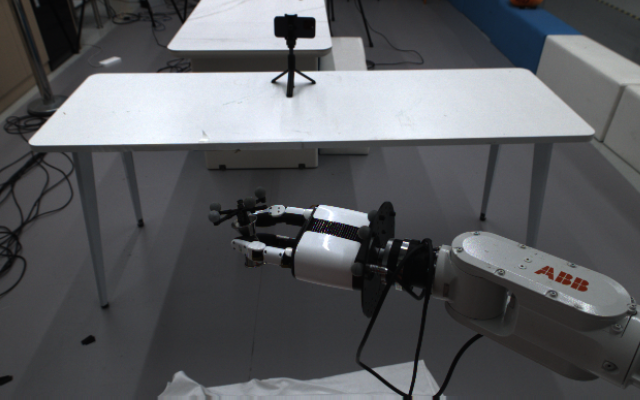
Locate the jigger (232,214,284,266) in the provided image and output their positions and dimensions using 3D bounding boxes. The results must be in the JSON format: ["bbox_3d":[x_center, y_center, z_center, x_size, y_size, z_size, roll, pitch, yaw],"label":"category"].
[{"bbox_3d":[-0.101,0.061,0.720,0.043,0.071,0.043,-14,22,6],"label":"jigger"}]
